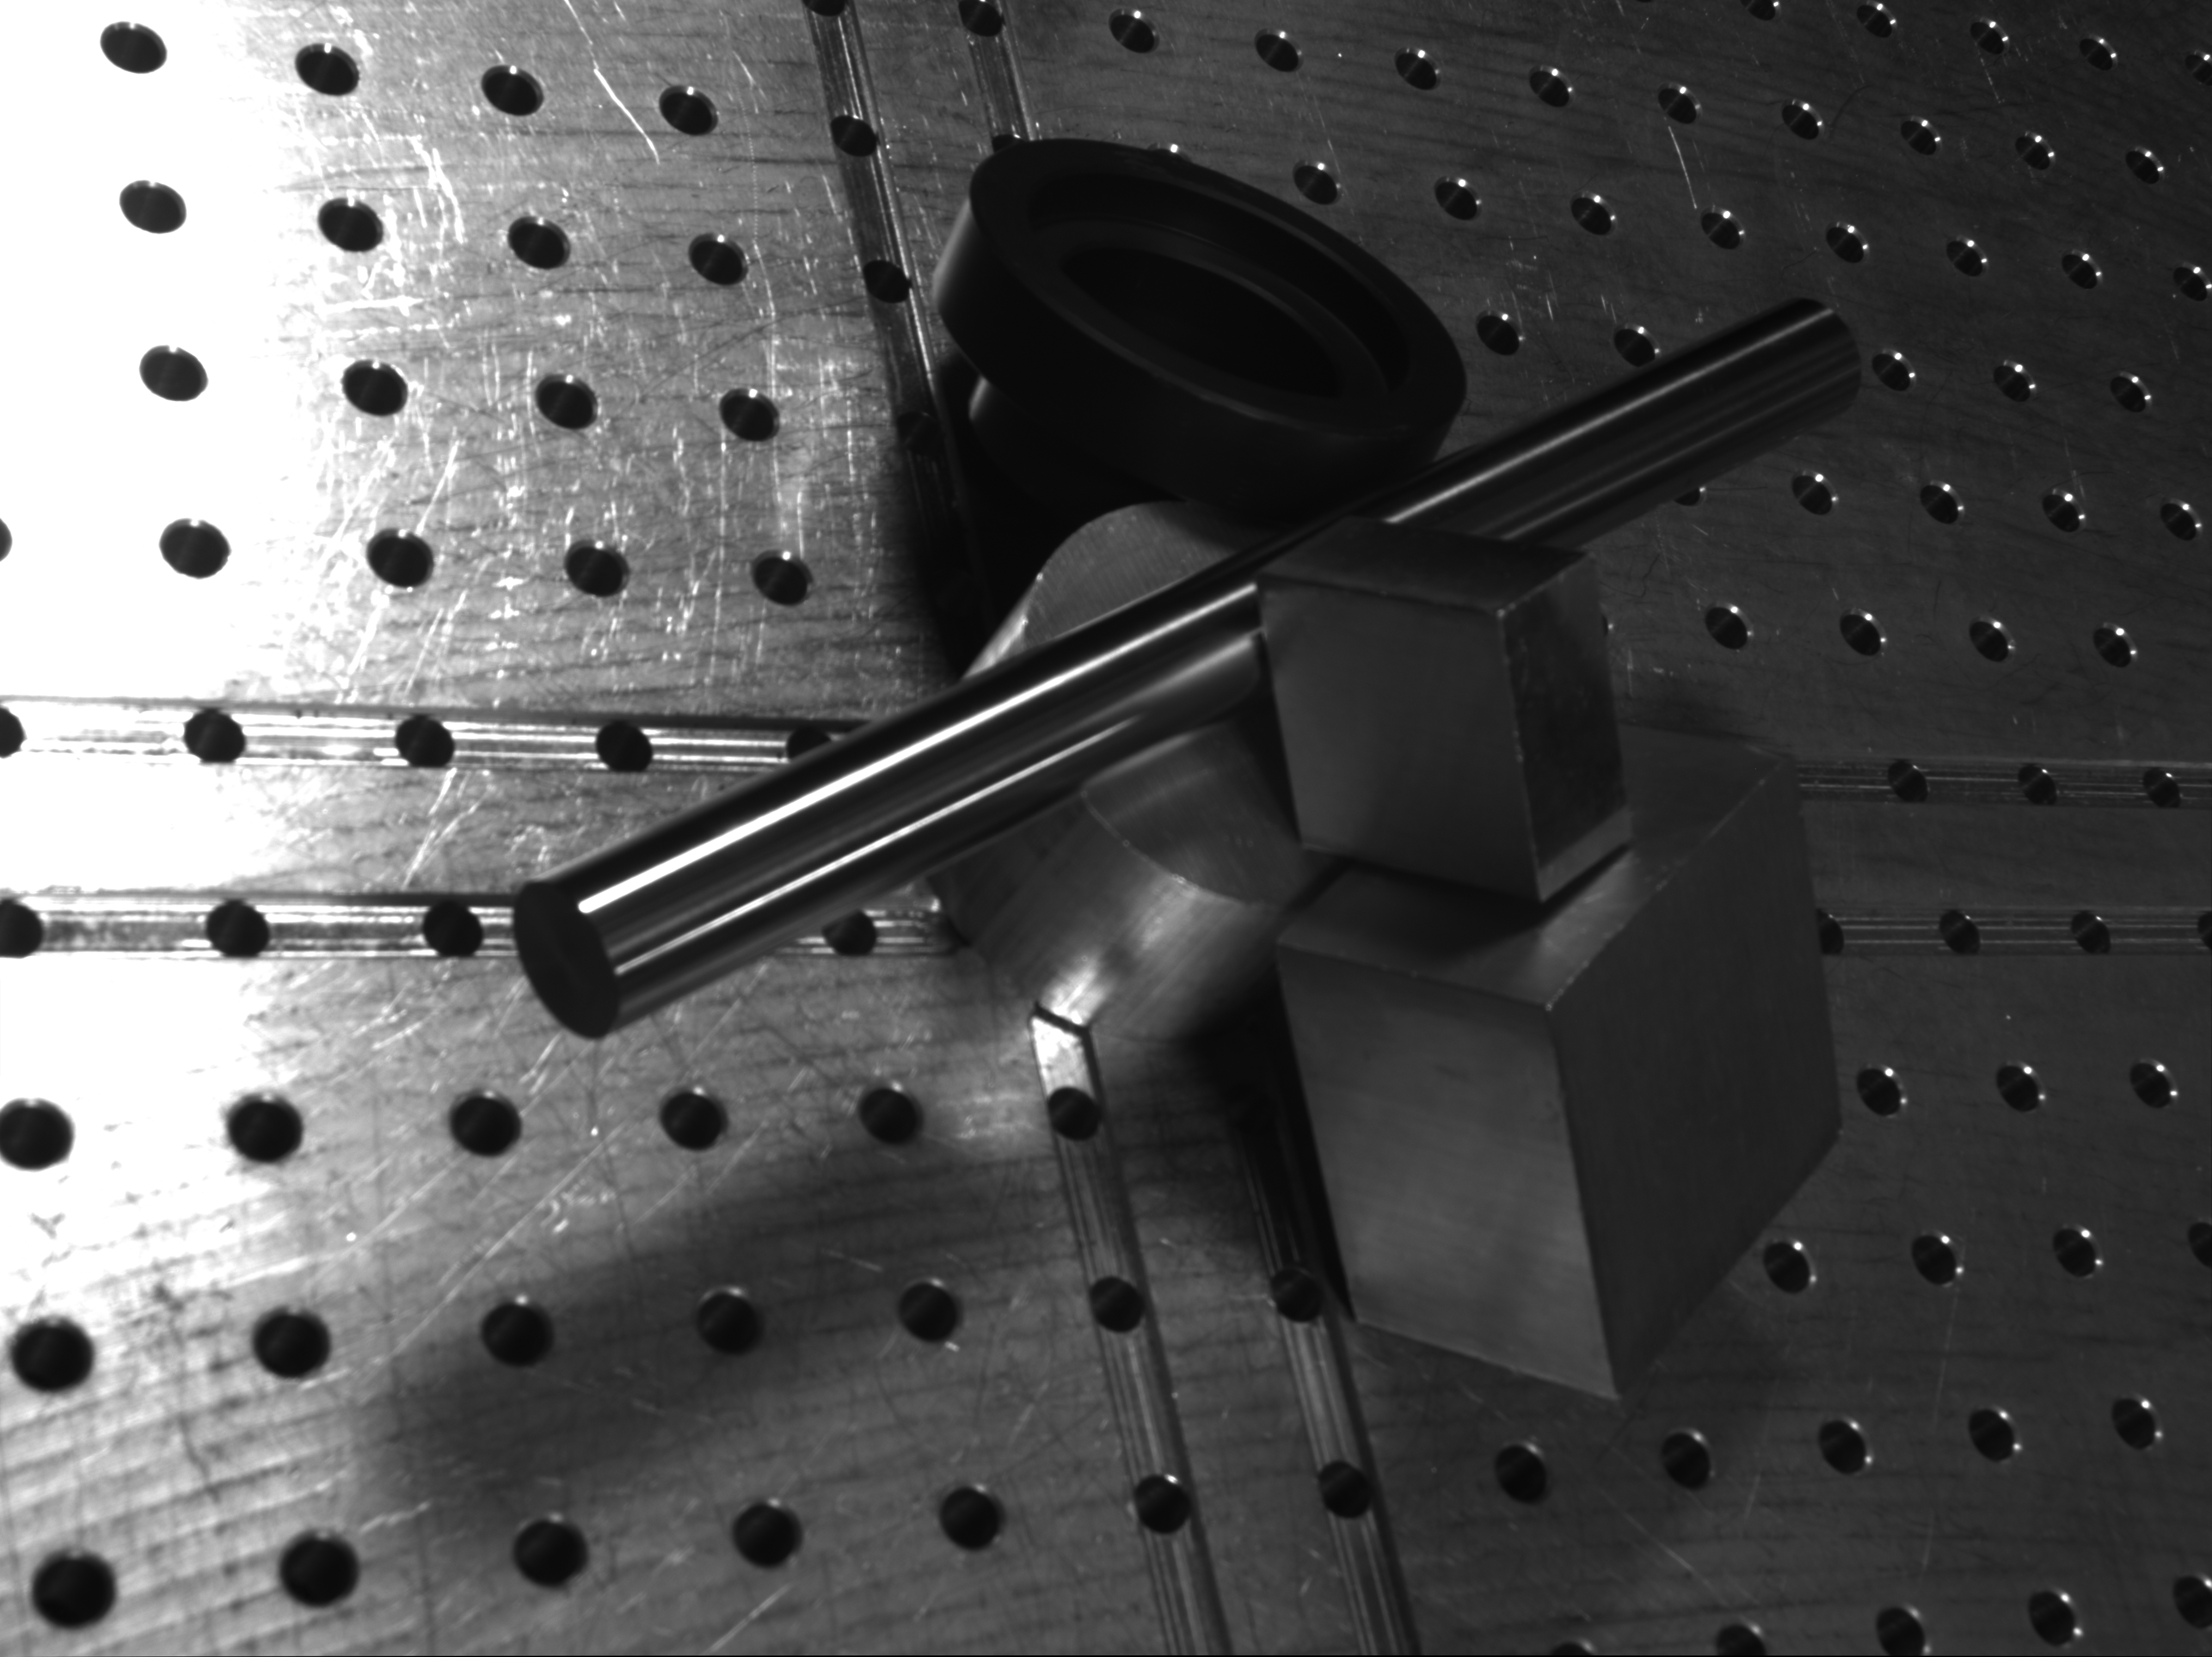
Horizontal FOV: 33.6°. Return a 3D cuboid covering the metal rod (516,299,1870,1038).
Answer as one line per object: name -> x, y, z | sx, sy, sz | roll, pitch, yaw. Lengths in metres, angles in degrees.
metal rod -> 0.030, -0.036, 0.616 | 0.301, 0.025, 0.025 | -27, 76, -37

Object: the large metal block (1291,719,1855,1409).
large metal block -> 0.081, 0.037, 0.618 | 0.080, 0.050, 0.080 | -40, 129, -39

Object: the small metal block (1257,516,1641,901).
small metal block -> 0.055, -0.020, 0.591 | 0.025, 0.050, 0.050 | -33, 122, -38

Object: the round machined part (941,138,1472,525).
round machined part -> 0.015, -0.084, 0.676 | 0.098, 0.042, 0.098 | 19, 31, -12

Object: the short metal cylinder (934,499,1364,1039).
short metal cylinder -> 0.013, -0.010, 0.639 | 0.080, 0.050, 0.080 | 14, 56, -21
